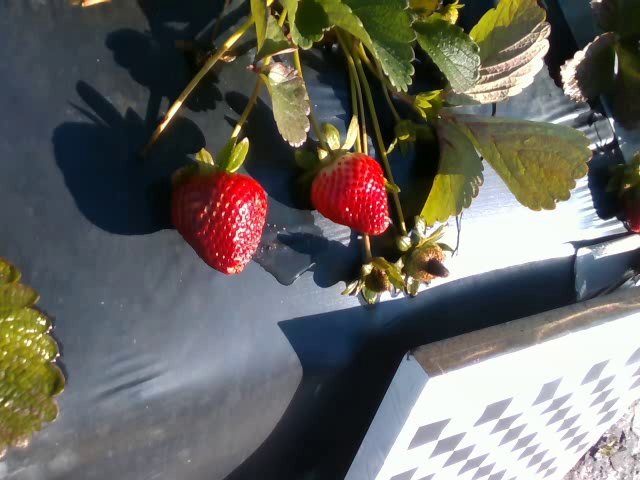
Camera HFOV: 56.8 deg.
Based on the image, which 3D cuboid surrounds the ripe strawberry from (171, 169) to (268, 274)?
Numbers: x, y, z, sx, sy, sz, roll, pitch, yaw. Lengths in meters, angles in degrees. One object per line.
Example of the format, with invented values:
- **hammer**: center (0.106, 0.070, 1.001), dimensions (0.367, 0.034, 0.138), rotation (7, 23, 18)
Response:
- **ripe strawberry**: center (-0.043, -0.006, 0.251), dimensions (0.050, 0.050, 0.044), rotation (7, -30, -41)

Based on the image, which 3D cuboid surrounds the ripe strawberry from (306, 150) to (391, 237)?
- **ripe strawberry**: center (0.019, -0.021, 0.286), dimensions (0.042, 0.049, 0.039), rotation (-36, -11, 6)
